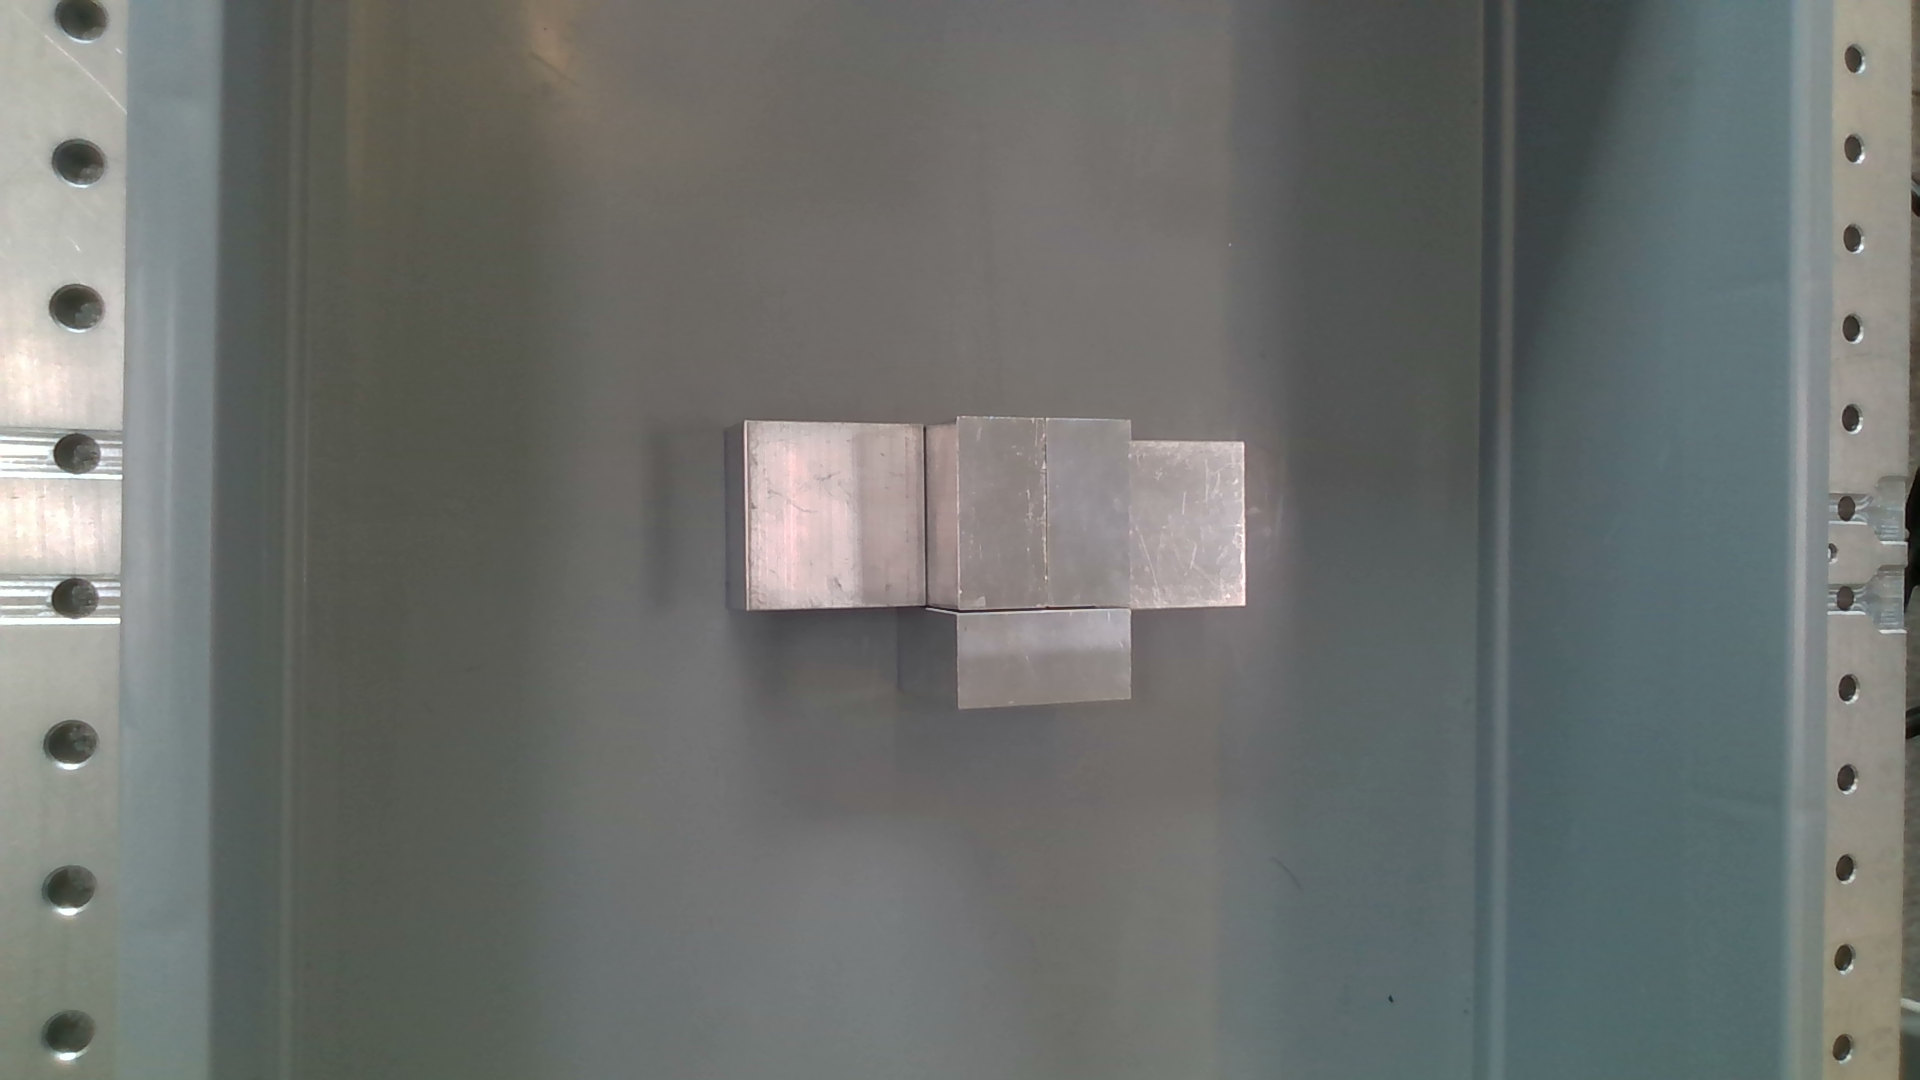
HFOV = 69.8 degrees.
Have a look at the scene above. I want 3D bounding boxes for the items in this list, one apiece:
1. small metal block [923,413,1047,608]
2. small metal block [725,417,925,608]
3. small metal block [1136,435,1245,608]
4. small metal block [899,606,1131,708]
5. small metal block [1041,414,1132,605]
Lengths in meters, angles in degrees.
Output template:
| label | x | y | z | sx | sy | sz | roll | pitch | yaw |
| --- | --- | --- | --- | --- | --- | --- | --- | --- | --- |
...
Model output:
| label | x | y | z | sx | sy | sz | roll | pitch | yaw |
| --- | --- | --- | --- | --- | --- | --- | --- | --- | --- |
| small metal block | 0.002 | -0.008 | 0.380 | 0.025 | 0.050 | 0.050 | 0 | 90 | -20 |
| small metal block | -0.037 | -0.007 | 0.379 | 0.050 | 0.025 | 0.050 | 0 | 90 | -20 |
| small metal block | 0.057 | -0.005 | 0.414 | 0.050 | 0.025 | 0.050 | 0 | 90 | -20 |
| small metal block | 0.014 | 0.031 | 0.385 | 0.050 | 0.050 | 0.025 | 0 | 90 | -20 |
| small metal block | 0.026 | -0.008 | 0.389 | 0.025 | 0.050 | 0.050 | 0 | 90 | -20 |
